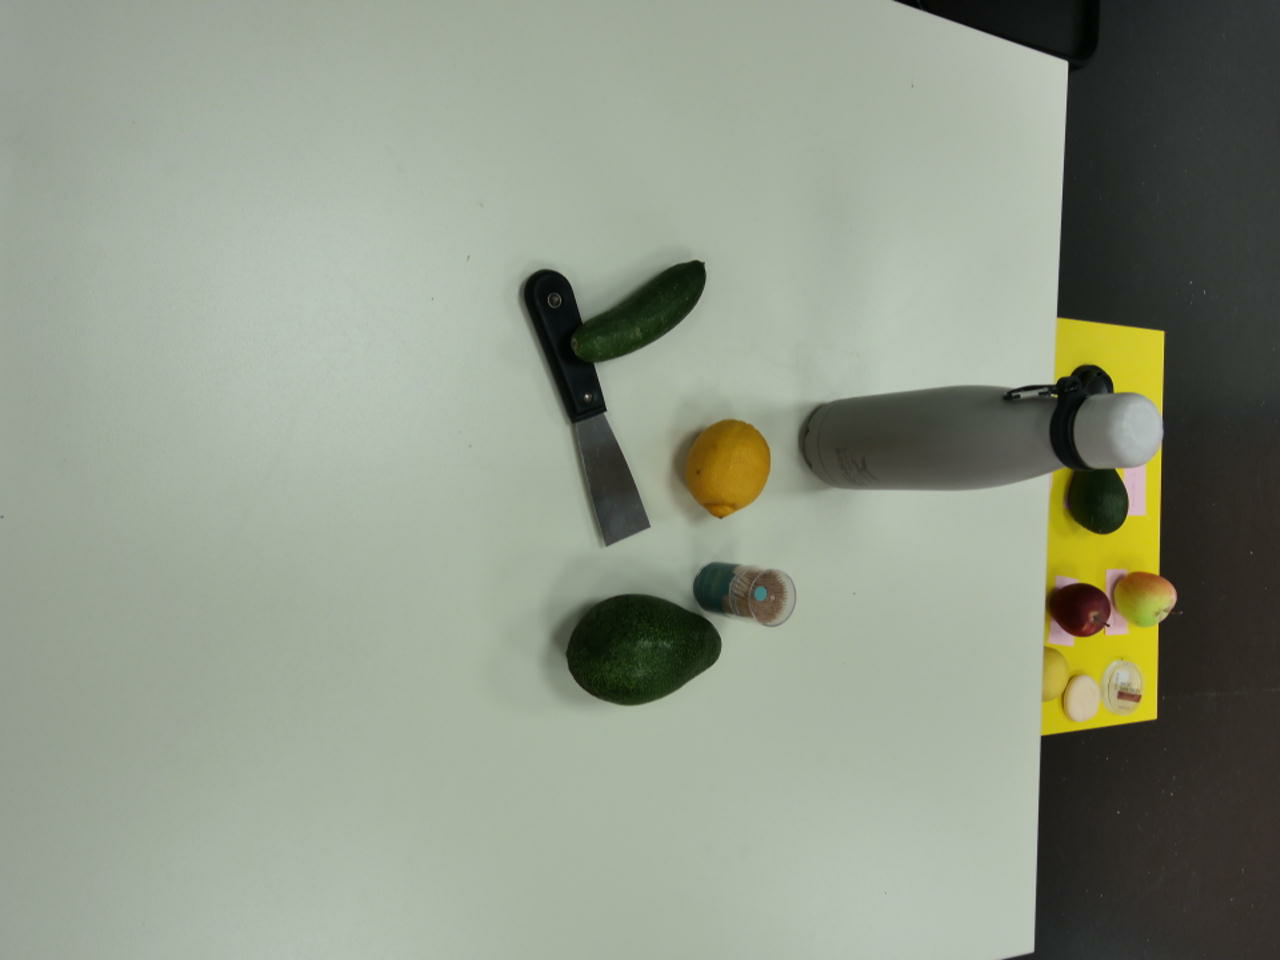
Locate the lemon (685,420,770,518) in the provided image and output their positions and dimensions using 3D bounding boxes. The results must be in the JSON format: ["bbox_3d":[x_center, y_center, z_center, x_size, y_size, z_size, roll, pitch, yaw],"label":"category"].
[{"bbox_3d":[0.063,-0.010,0.721,0.061,0.059,0.066,48,69,-19],"label":"lemon"}]
